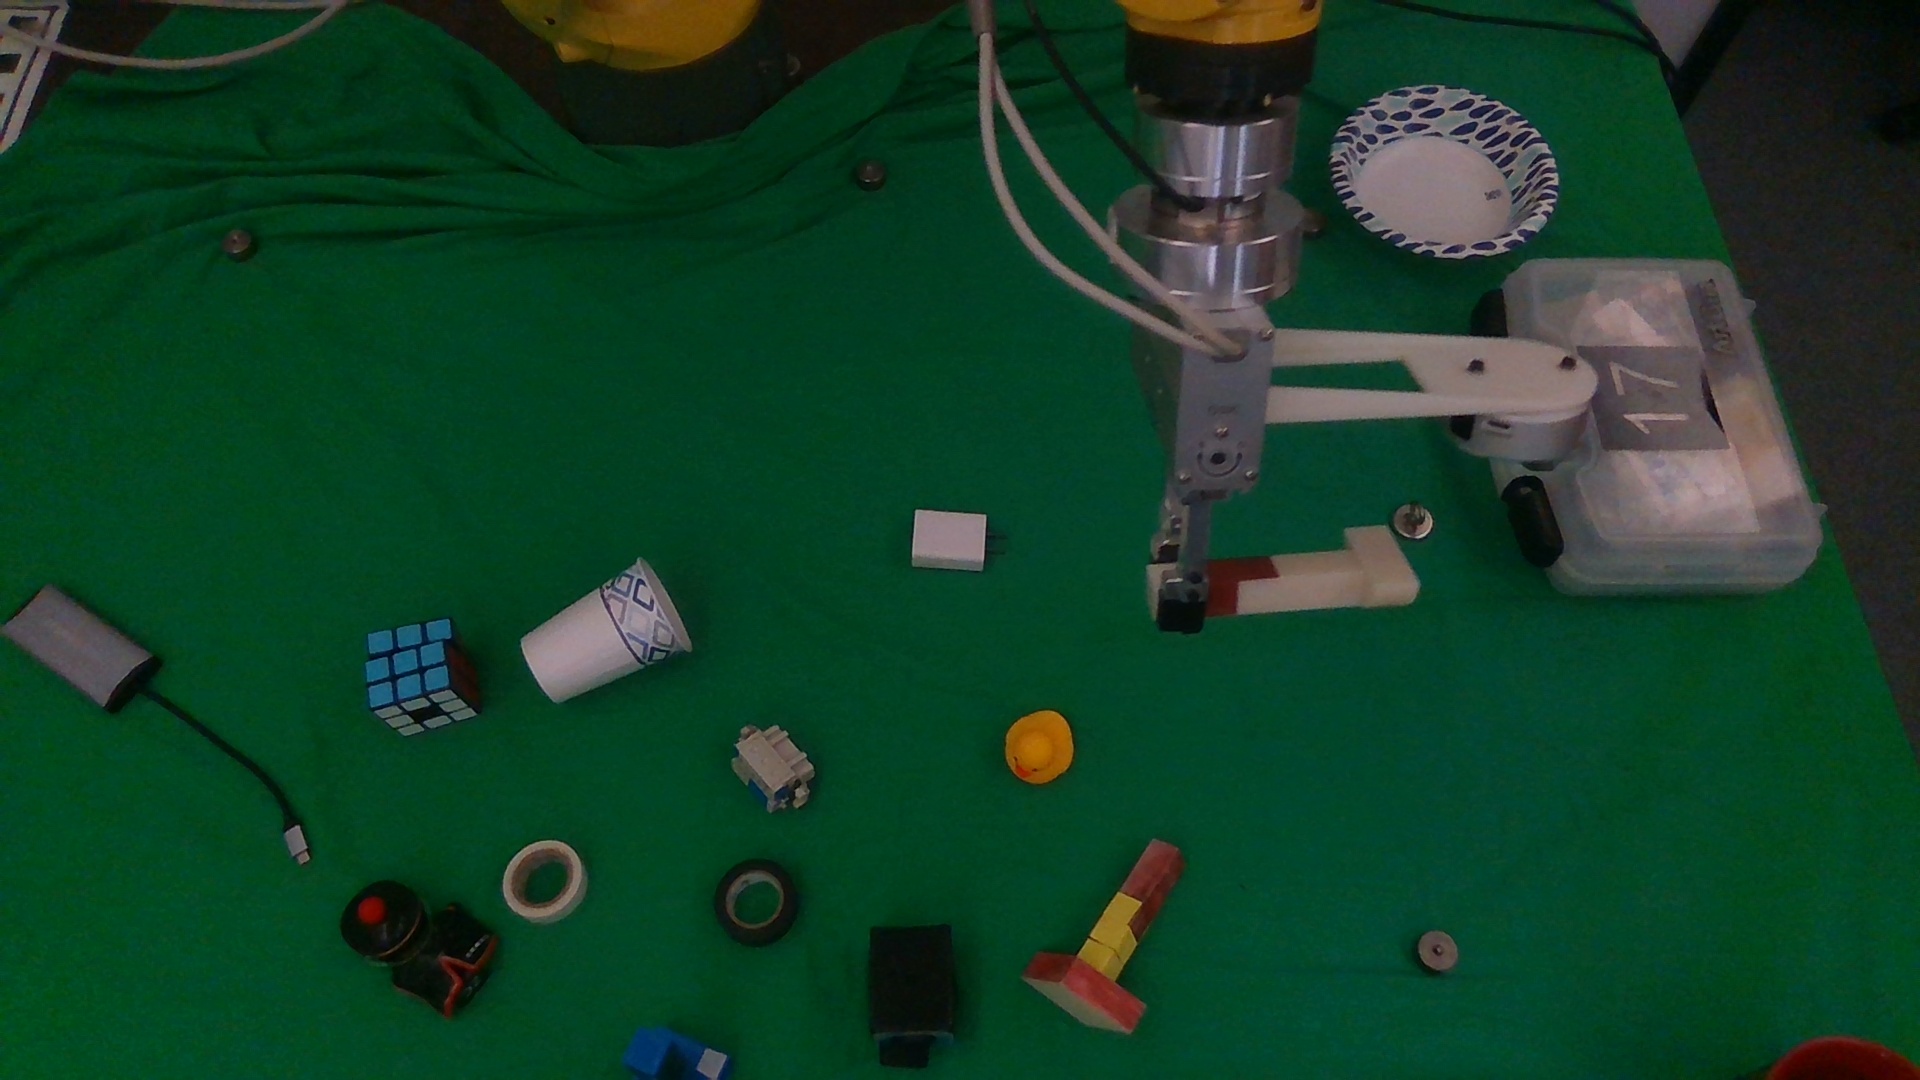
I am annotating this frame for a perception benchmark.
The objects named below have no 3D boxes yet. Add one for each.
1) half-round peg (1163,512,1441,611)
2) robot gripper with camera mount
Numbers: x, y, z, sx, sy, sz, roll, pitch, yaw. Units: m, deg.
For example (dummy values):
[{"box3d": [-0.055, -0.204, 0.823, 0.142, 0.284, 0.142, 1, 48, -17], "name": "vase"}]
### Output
[{"box3d": [0.156, 0.014, 0.648, 0.122, 0.031, 0.054, -5, 33, 0], "name": "half-round peg"}, {"box3d": [0.183, -0.042, 0.618, 0.193, 0.158, 0.119, -2, 33, -4], "name": "robot gripper with camera mount"}]
